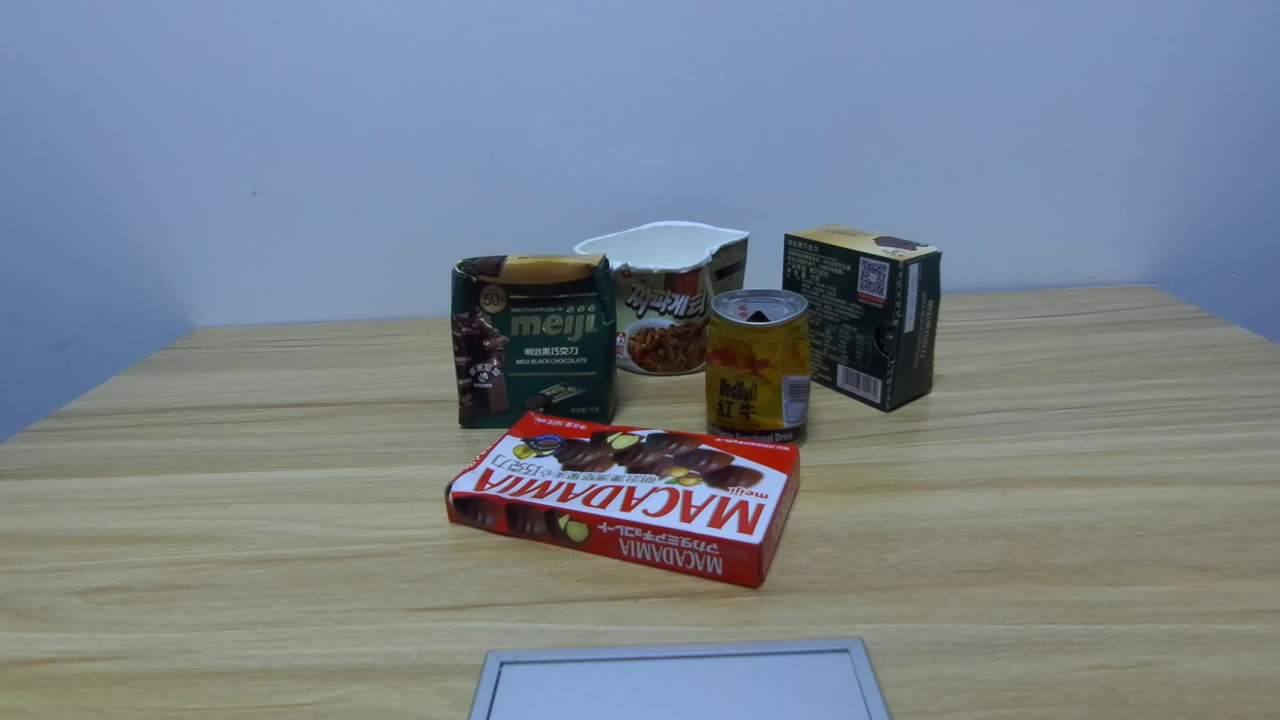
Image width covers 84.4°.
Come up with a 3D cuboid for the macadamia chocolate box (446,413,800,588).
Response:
[{"bbox_3d":[-0.009,0.070,0.399,0.182,0.028,0.106,6,24,22],"label":"macadamia chocolate box"}]

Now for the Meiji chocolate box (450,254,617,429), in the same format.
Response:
[{"bbox_3d":[-0.072,-0.015,0.497,0.117,0.117,0.051,-1,16,5],"label":"Meiji chocolate box"}]

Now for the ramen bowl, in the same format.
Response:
[{"bbox_3d":[0.014,-0.054,0.587,0.133,0.097,0.114,8,27,22],"label":"ramen bowl"}]

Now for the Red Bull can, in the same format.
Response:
[{"bbox_3d":[0.074,0.007,0.447,0.072,0.092,0.072,-2,25,1],"label":"Red Bull can"}]

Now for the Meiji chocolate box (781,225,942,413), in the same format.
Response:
[{"bbox_3d":[0.159,-0.035,0.513,0.058,0.111,0.112,-16,26,-30],"label":"Meiji chocolate box"}]
